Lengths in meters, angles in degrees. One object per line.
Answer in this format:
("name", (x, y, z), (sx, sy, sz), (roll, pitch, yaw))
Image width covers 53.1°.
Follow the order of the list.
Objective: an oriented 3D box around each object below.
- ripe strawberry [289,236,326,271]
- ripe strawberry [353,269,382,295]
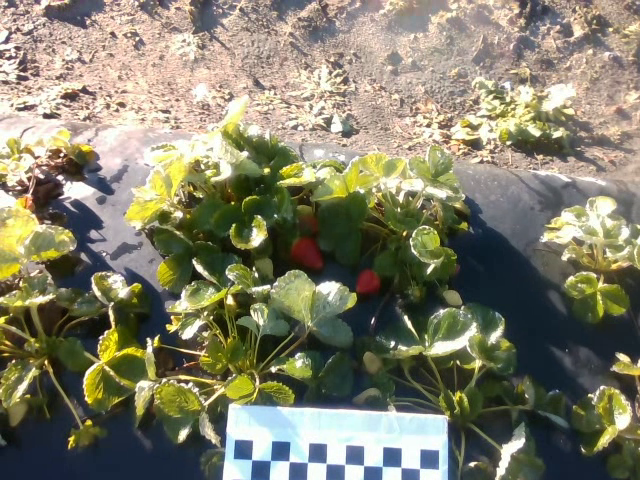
("ripe strawberry", (-0.016, 0.020, 0.904), (0.044, 0.056, 0.040), (-36, -10, -14))
("ripe strawberry", (0.066, 0.062, 0.884), (0.047, 0.039, 0.040), (-46, -8, -26))
